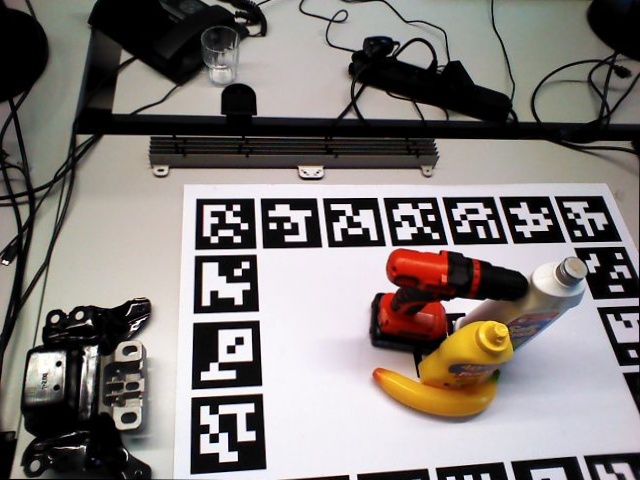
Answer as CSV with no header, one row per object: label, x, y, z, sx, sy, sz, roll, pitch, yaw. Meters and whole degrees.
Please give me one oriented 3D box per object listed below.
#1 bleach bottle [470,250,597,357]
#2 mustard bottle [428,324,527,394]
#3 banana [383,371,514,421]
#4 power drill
bleach bottle,0.287,0.094,0.708,0.103,0.252,0.067,2,55,-7
mustard bottle,0.218,0.156,0.692,0.096,0.192,0.058,0,61,-9
banana,0.190,0.224,0.750,0.197,0.039,0.074,3,62,-3
power drill,0.176,0.085,0.703,0.185,0.188,0.057,11,59,-3
